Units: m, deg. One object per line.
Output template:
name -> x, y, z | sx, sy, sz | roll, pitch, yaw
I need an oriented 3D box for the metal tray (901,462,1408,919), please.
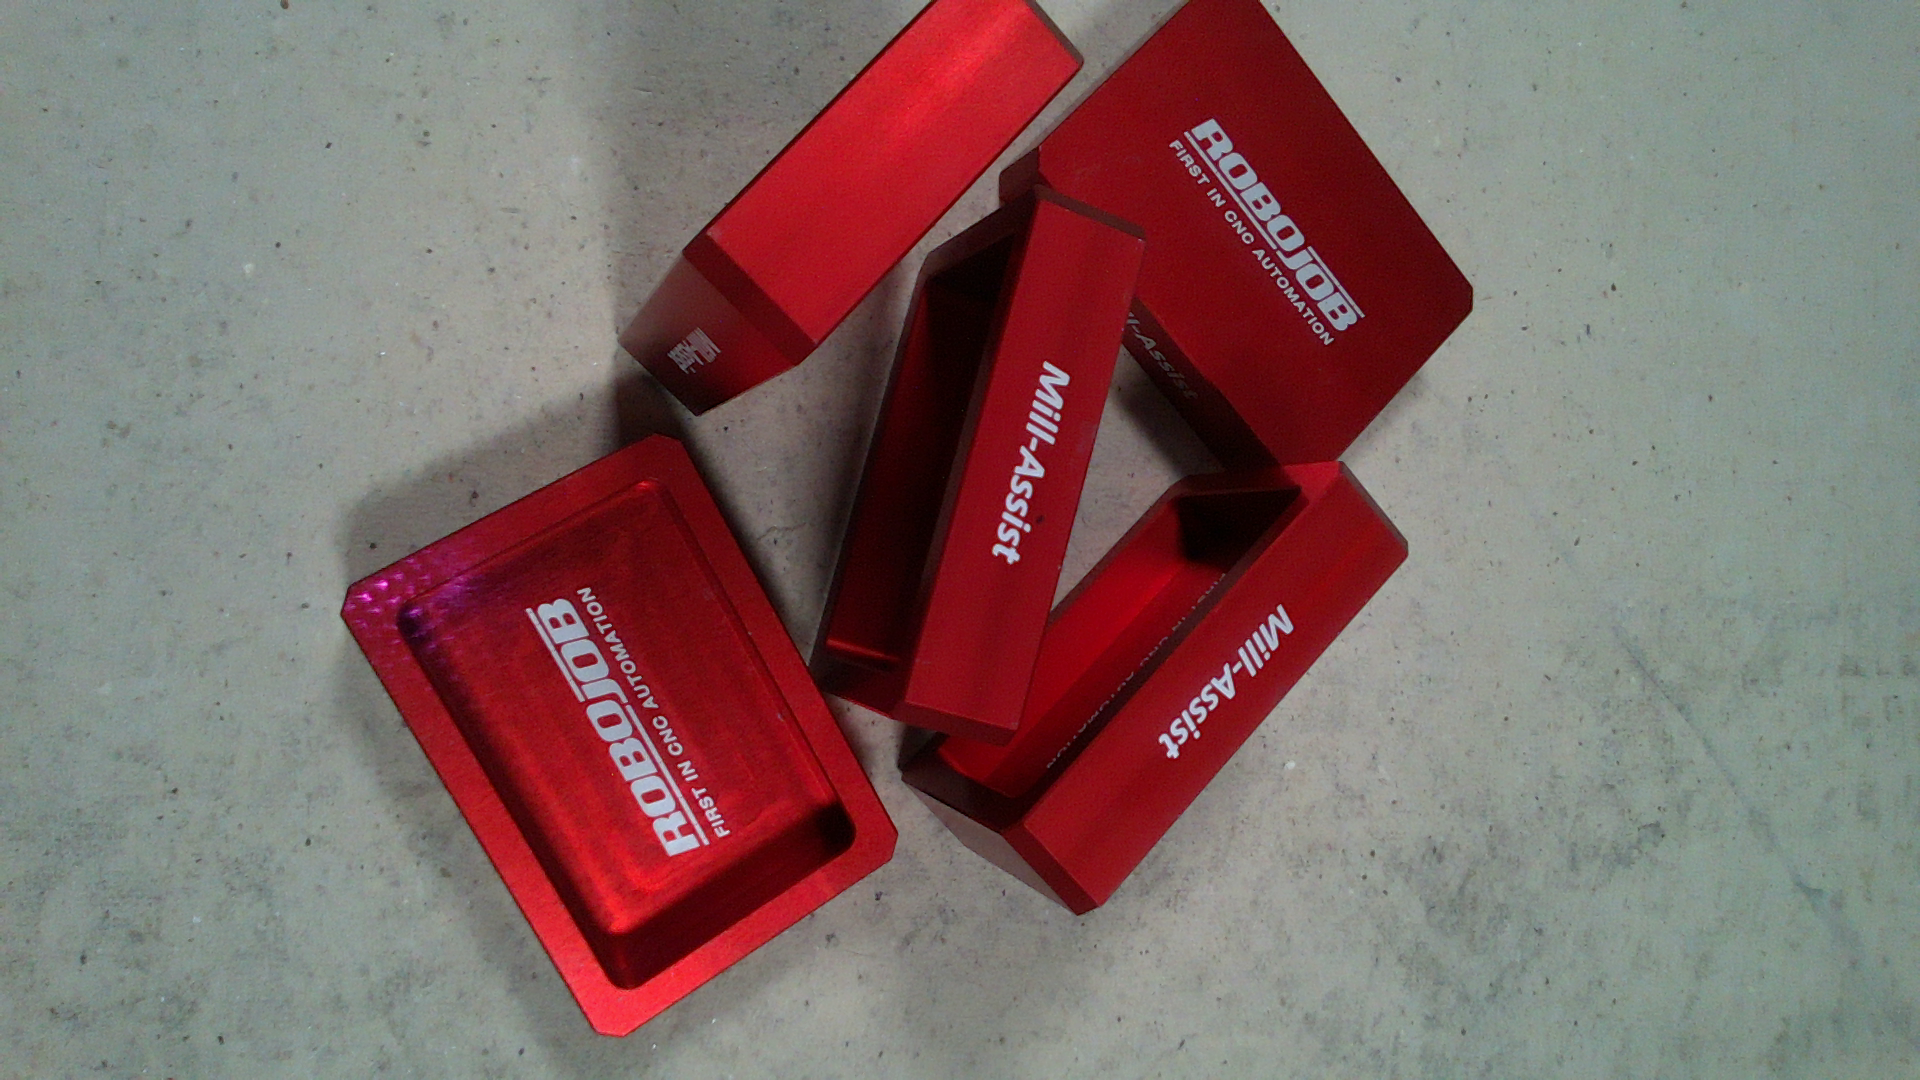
metal tray -> 0.050, 0.035, 0.377 | 0.130, 0.090, 0.030 | -45, 104, -14

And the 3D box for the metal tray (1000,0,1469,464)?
metal tray -> 0.086, -0.091, 0.422 | 0.090, 0.030, 0.130 | -46, 104, -14

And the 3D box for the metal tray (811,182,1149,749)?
metal tray -> 0.001, -0.018, 0.359 | 0.030, 0.090, 0.130 | 17, 84, -19

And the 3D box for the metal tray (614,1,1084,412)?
metal tray -> -0.033, -0.076, 0.326 | 0.030, 0.130, 0.090 | 45, 76, -14

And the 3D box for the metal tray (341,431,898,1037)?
metal tray -> -0.086, 0.049, 0.360 | 0.090, 0.030, 0.130 | -30, 100, -17
